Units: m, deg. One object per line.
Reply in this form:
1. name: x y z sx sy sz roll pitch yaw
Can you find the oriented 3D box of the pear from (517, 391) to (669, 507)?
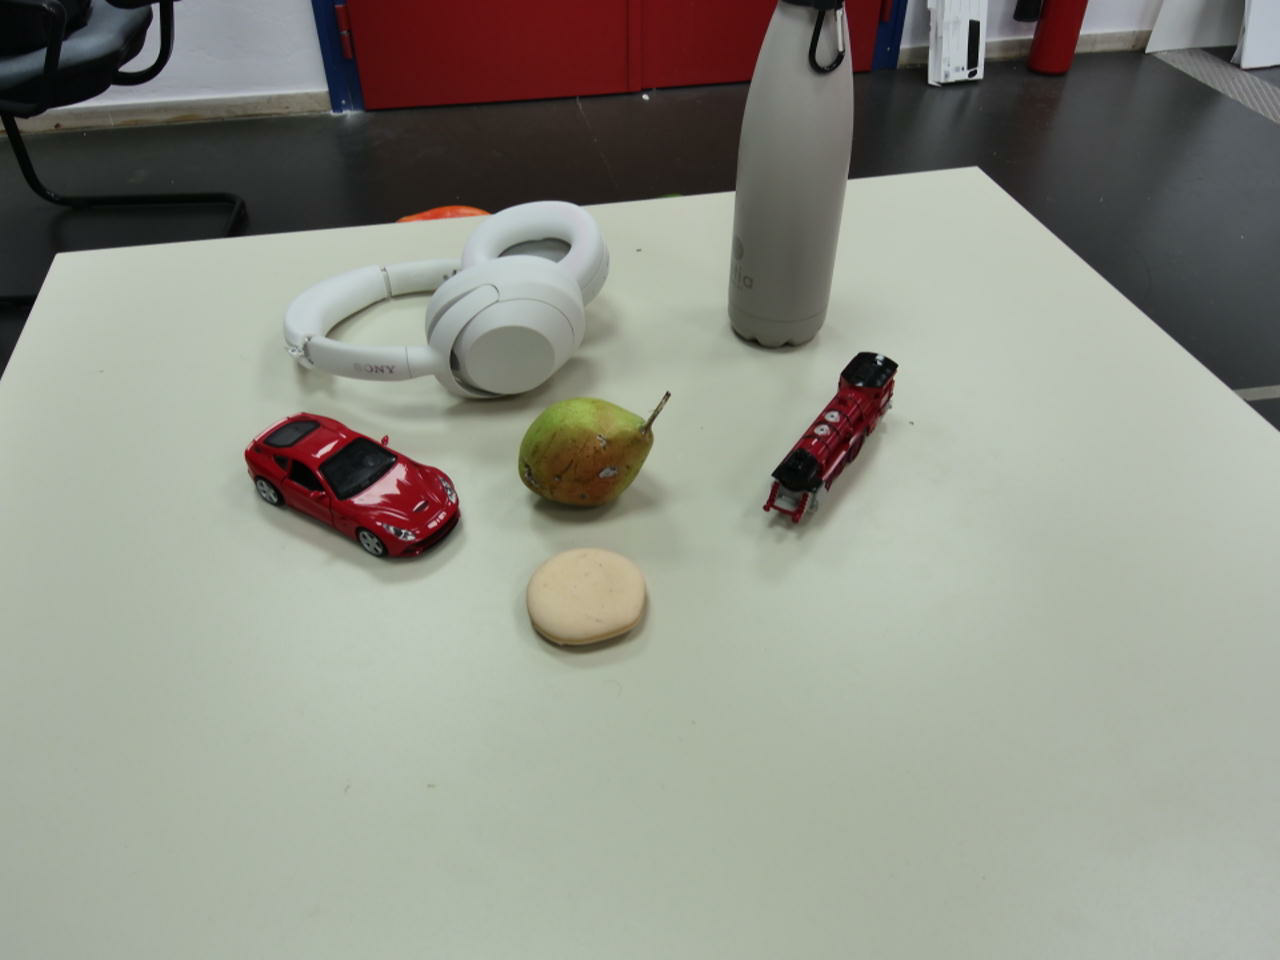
1. pear: -0.030 -0.018 0.567 0.070 0.069 0.068 26 46 29
